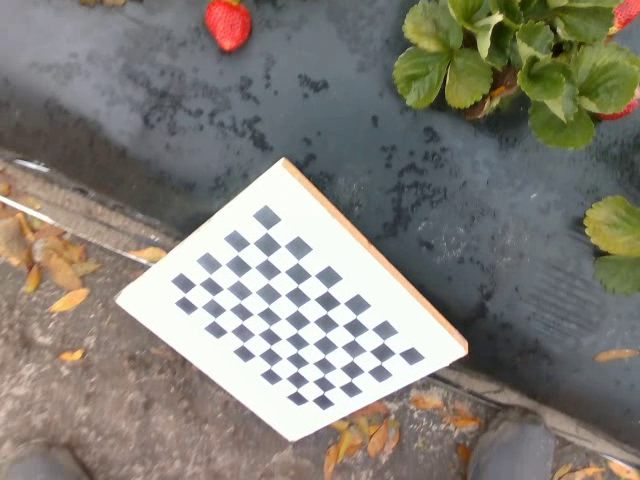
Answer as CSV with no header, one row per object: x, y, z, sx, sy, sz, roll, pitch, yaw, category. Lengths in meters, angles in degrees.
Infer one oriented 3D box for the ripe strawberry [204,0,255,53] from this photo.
-0.084,-0.195,0.551,0.045,0.054,0.048,3,-13,12,ripe strawberry
